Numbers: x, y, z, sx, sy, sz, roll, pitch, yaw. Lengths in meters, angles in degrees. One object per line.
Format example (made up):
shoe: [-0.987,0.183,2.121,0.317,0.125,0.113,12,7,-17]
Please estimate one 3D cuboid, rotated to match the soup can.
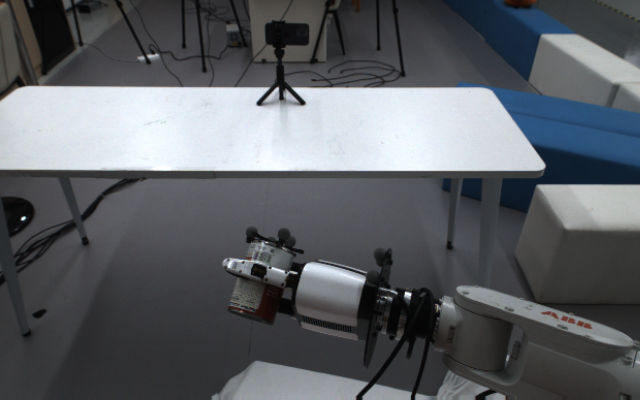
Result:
soup can: [-0.079,0.115,0.670,0.067,0.067,0.101,12,70,14]
